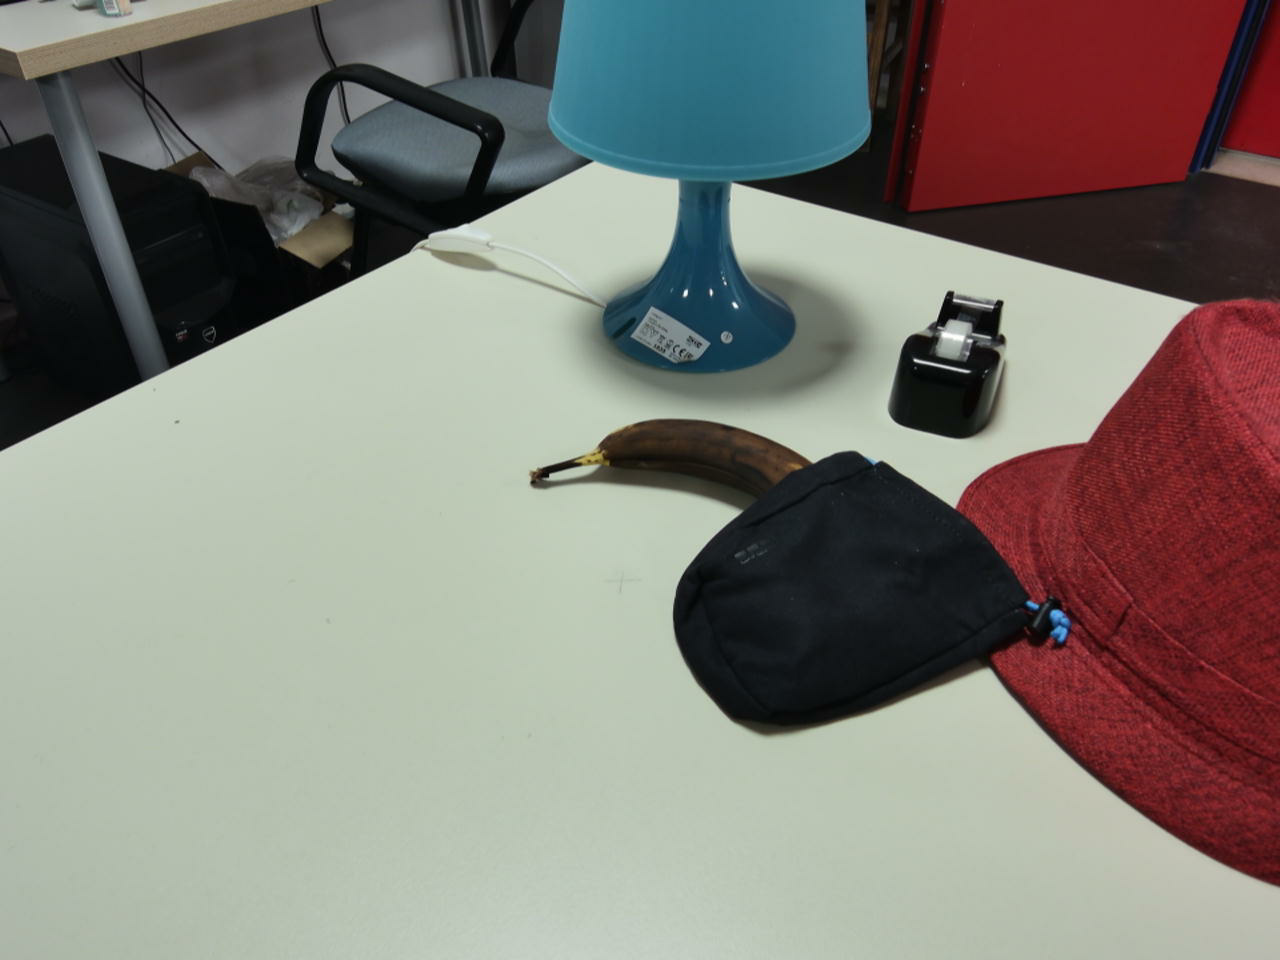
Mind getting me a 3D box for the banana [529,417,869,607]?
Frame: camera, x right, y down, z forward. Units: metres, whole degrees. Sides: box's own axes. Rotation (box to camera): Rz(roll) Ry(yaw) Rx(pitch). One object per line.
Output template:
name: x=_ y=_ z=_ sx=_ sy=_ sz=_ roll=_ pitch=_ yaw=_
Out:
banana: x=0.040 y=0.002 z=0.519 sx=0.188 sy=0.034 sz=0.091 roll=26 pitch=45 yaw=31
